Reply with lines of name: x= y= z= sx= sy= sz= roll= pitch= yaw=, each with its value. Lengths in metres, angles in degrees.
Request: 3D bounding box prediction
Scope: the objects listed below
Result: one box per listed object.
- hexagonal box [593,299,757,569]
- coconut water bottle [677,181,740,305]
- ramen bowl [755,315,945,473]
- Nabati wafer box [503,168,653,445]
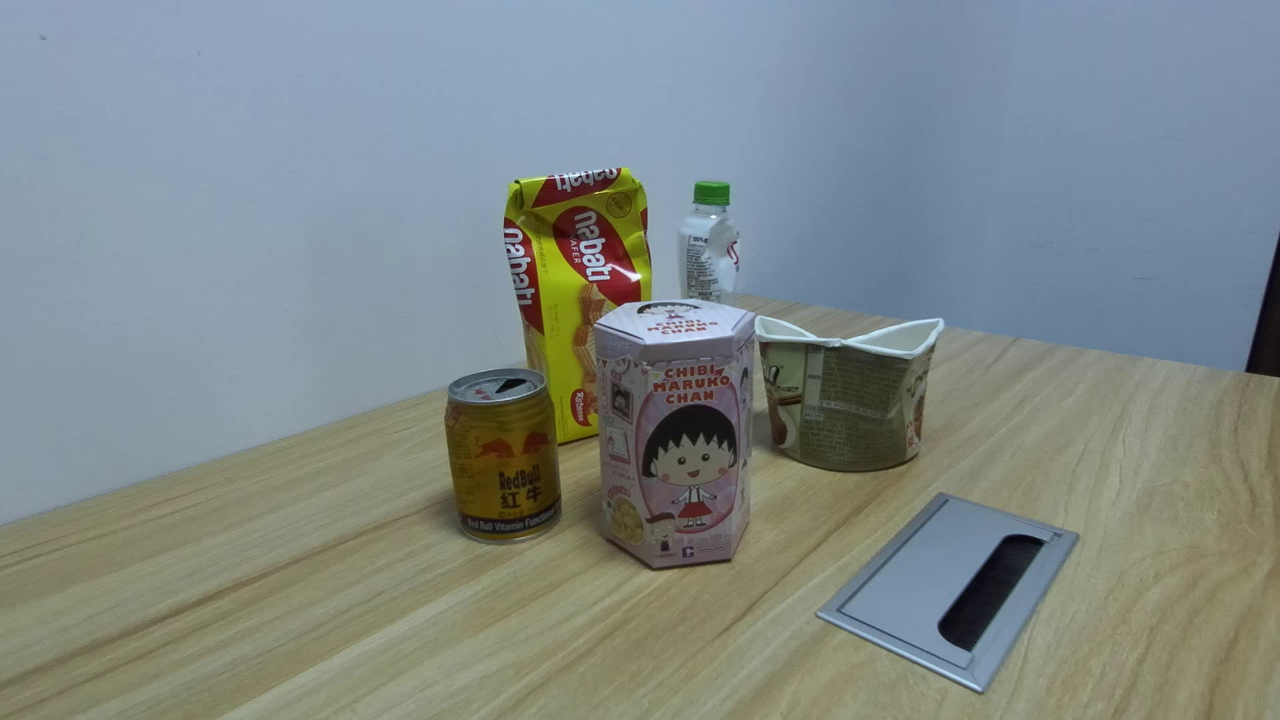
hexagonal box: x=0.022 y=0.040 z=0.407 sx=0.091 sy=0.136 sz=0.083 roll=-5 pitch=18 yaw=-9
coconut water bottle: x=0.062 y=-0.062 z=0.630 sx=0.069 sy=0.187 sz=0.069 roll=0 pitch=12 yaw=0
ramen bowl: x=0.150 y=0.017 z=0.533 sx=0.128 sy=0.093 sz=0.112 roll=8 pitch=22 yaw=28
Nabati wafer box: x=-0.042 y=-0.041 z=0.558 sx=0.114 sy=0.205 sz=0.042 roll=-13 pitch=21 yaw=-26
